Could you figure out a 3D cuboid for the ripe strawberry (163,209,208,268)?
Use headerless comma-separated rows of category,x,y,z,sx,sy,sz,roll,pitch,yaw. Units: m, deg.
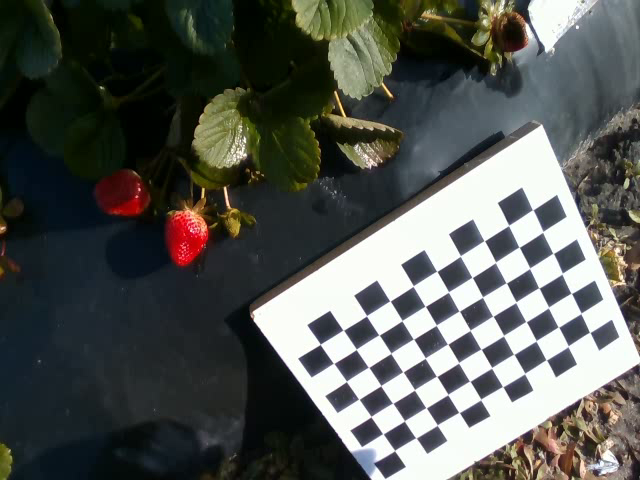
ripe strawberry,-0.120,-0.003,0.556,0.043,0.053,0.039,10,-24,-15

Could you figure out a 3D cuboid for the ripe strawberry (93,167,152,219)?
ripe strawberry,-0.176,-0.043,0.568,0.054,0.048,0.039,-25,23,-28
